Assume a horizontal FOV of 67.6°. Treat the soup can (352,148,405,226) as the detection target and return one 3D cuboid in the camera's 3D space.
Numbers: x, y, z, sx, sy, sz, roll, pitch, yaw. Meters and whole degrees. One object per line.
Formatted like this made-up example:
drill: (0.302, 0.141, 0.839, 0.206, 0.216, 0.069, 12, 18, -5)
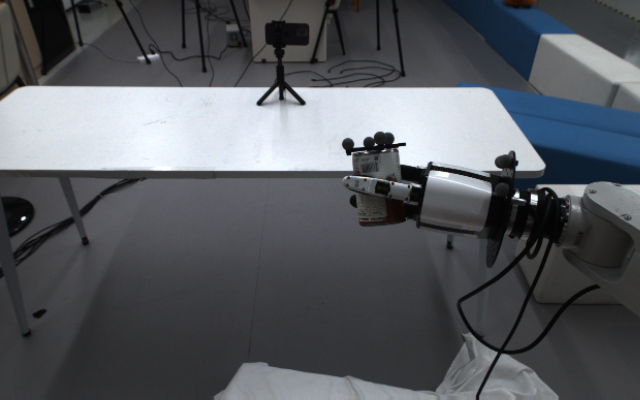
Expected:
soup can: (0.084, -0.018, 0.682, 0.067, 0.101, 0.067, -6, 3, 0)
